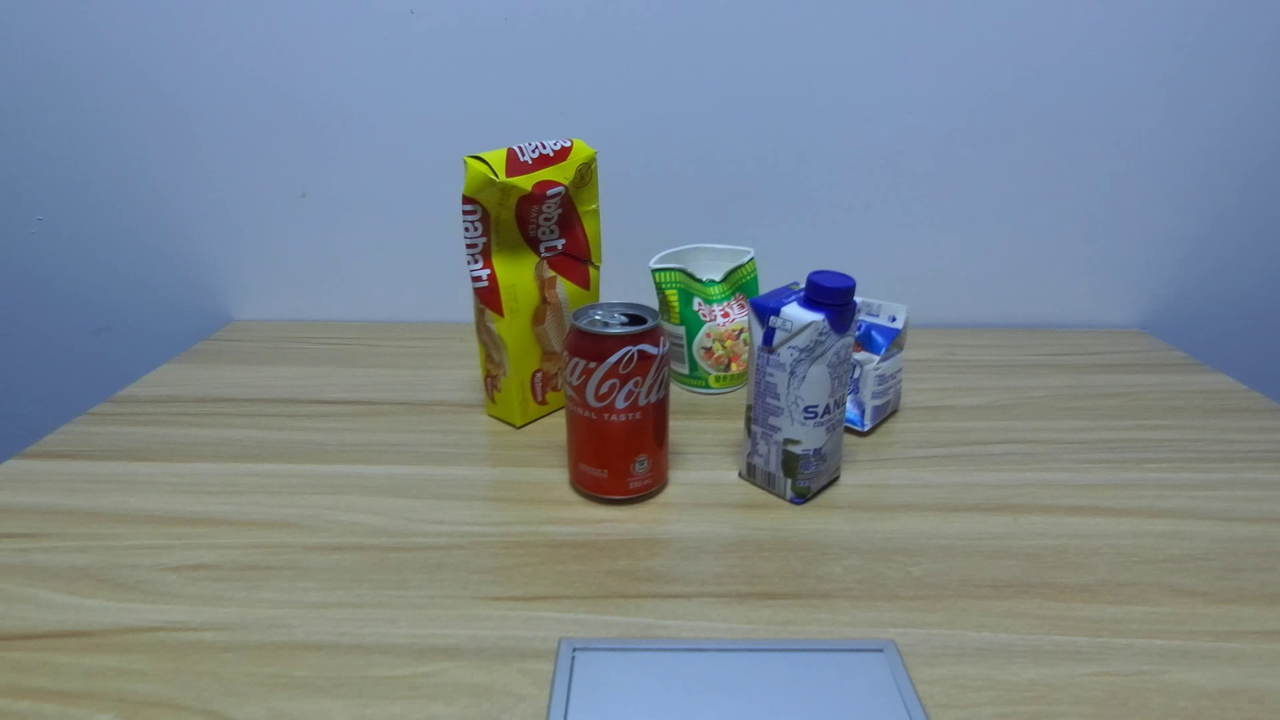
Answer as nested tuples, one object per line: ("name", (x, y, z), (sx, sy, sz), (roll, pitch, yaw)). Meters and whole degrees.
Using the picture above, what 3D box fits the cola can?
("cola can", (-0.014, 0.026, 0.447), (0.068, 0.120, 0.068), (0, 23, 0))

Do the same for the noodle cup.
("noodle cup", (0.061, -0.036, 0.603), (0.082, 0.122, 0.075), (-5, 15, 12))

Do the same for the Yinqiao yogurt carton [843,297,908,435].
("Yinqiao yogurt carton", (0.163, -0.002, 0.550), (0.077, 0.094, 0.071), (18, 23, 35))

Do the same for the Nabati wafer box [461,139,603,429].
("Nabati wafer box", (-0.078, -0.056, 0.531), (0.042, 0.204, 0.107), (21, 31, 37))

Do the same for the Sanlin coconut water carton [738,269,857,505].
("Sanlin coconut water carton", (0.100, 0.014, 0.444), (0.060, 0.144, 0.061), (20, 31, 41))
